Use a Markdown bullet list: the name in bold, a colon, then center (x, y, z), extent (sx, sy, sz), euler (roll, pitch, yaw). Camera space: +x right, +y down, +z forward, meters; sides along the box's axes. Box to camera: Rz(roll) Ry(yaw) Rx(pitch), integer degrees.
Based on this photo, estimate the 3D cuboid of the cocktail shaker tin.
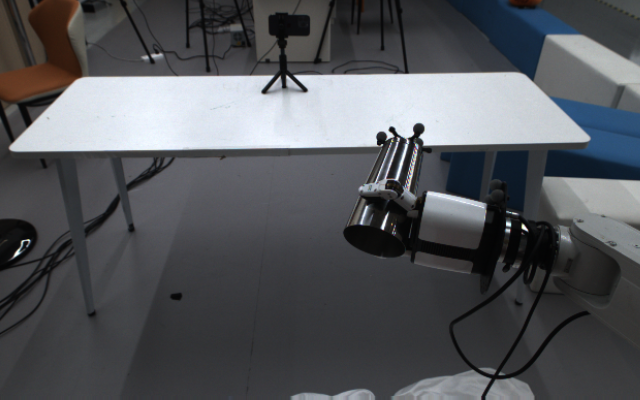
- **cocktail shaker tin**: center (0.102, -0.010, 0.727), extent (0.093, 0.093, 0.170), euler (14, 60, 16)
